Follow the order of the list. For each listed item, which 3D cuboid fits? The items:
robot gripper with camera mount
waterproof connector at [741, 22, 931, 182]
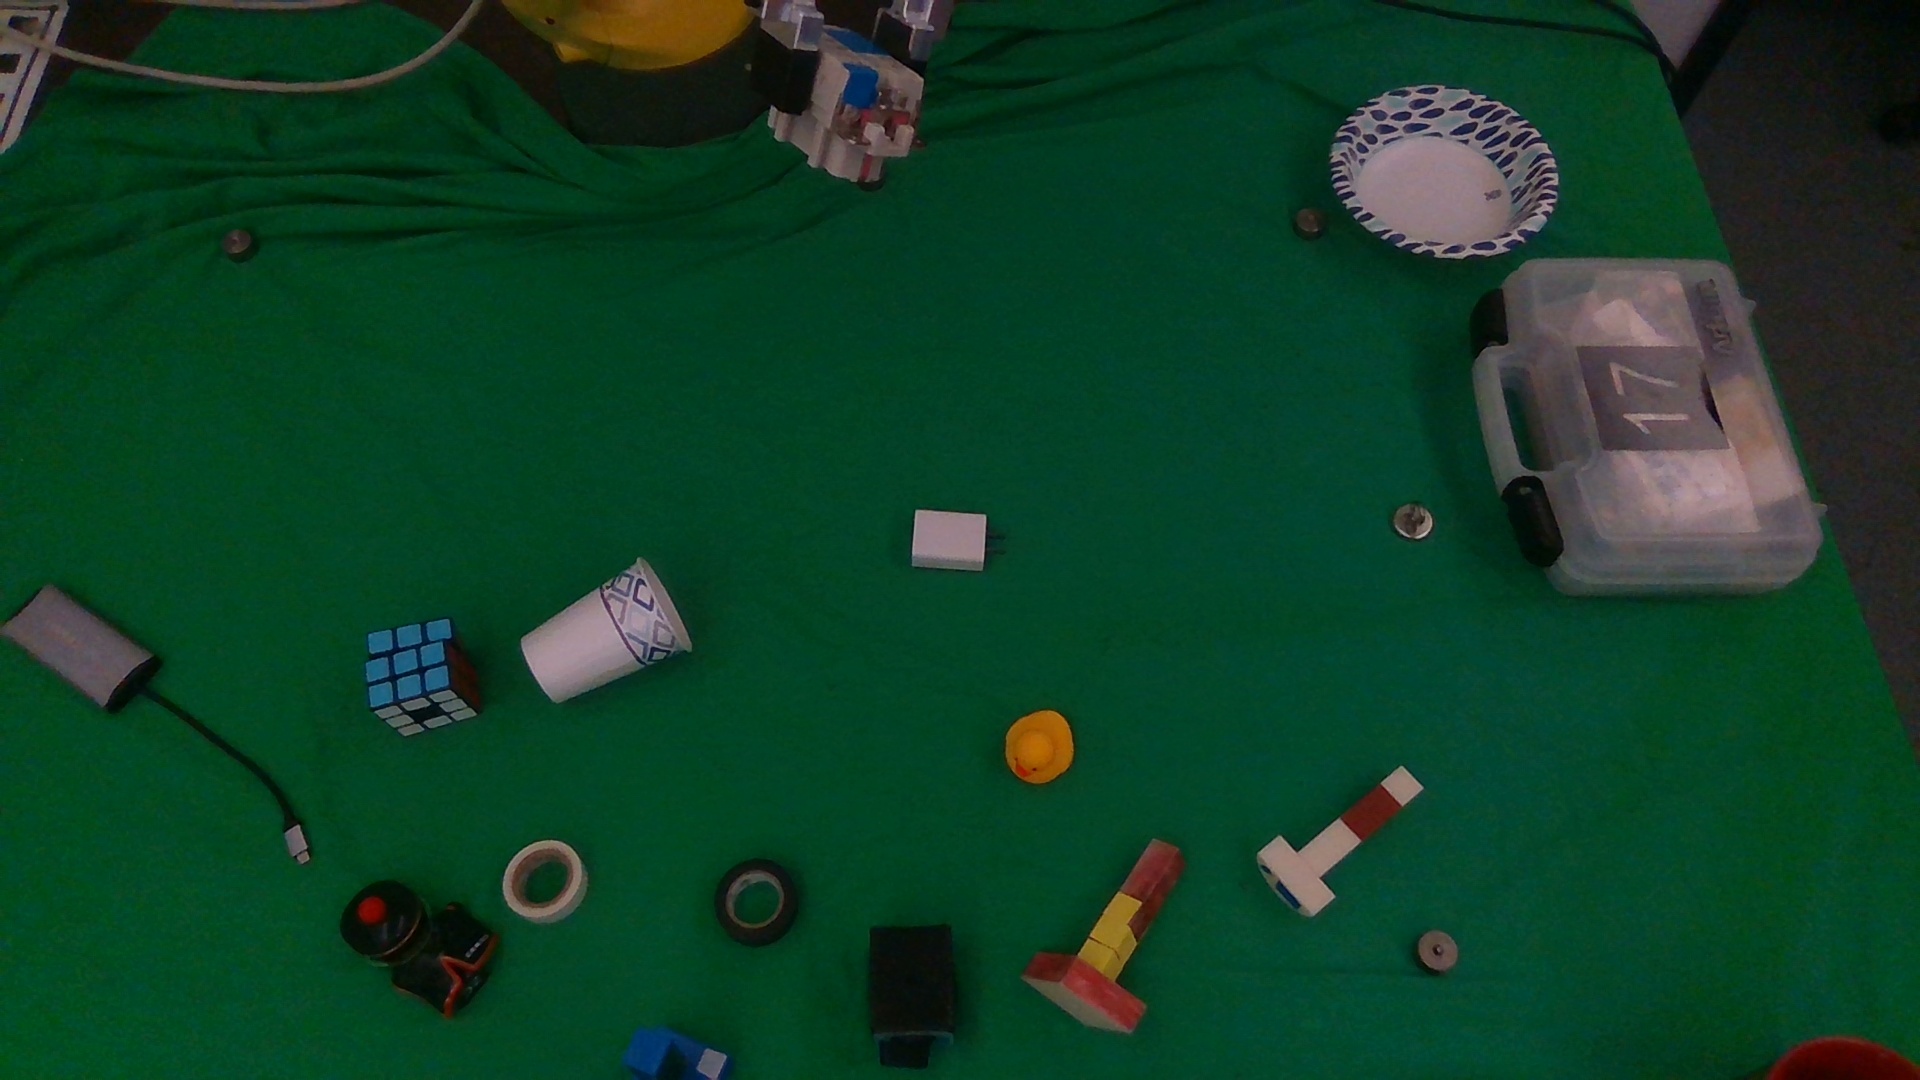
[{"bbox_3d":[-0.070,-0.252,0.459,0.118,0.159,0.194,-10,42,-42],"label":"robot gripper with camera mount"},{"bbox_3d":[-0.041,-0.144,0.455,0.034,0.037,0.065,-15,45,-43],"label":"waterproof connector"}]
